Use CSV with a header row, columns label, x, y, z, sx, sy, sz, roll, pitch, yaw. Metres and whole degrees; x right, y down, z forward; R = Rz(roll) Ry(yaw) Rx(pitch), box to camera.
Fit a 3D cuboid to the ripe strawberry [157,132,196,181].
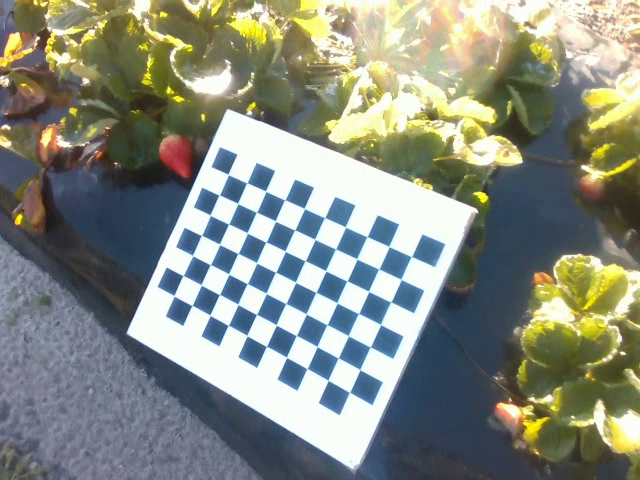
label,x,y,z,sx,sy,sz,roll,pitch,yaw
ripe strawberry,-0.179,-0.100,0.713,0.040,0.065,0.040,-25,-14,10
